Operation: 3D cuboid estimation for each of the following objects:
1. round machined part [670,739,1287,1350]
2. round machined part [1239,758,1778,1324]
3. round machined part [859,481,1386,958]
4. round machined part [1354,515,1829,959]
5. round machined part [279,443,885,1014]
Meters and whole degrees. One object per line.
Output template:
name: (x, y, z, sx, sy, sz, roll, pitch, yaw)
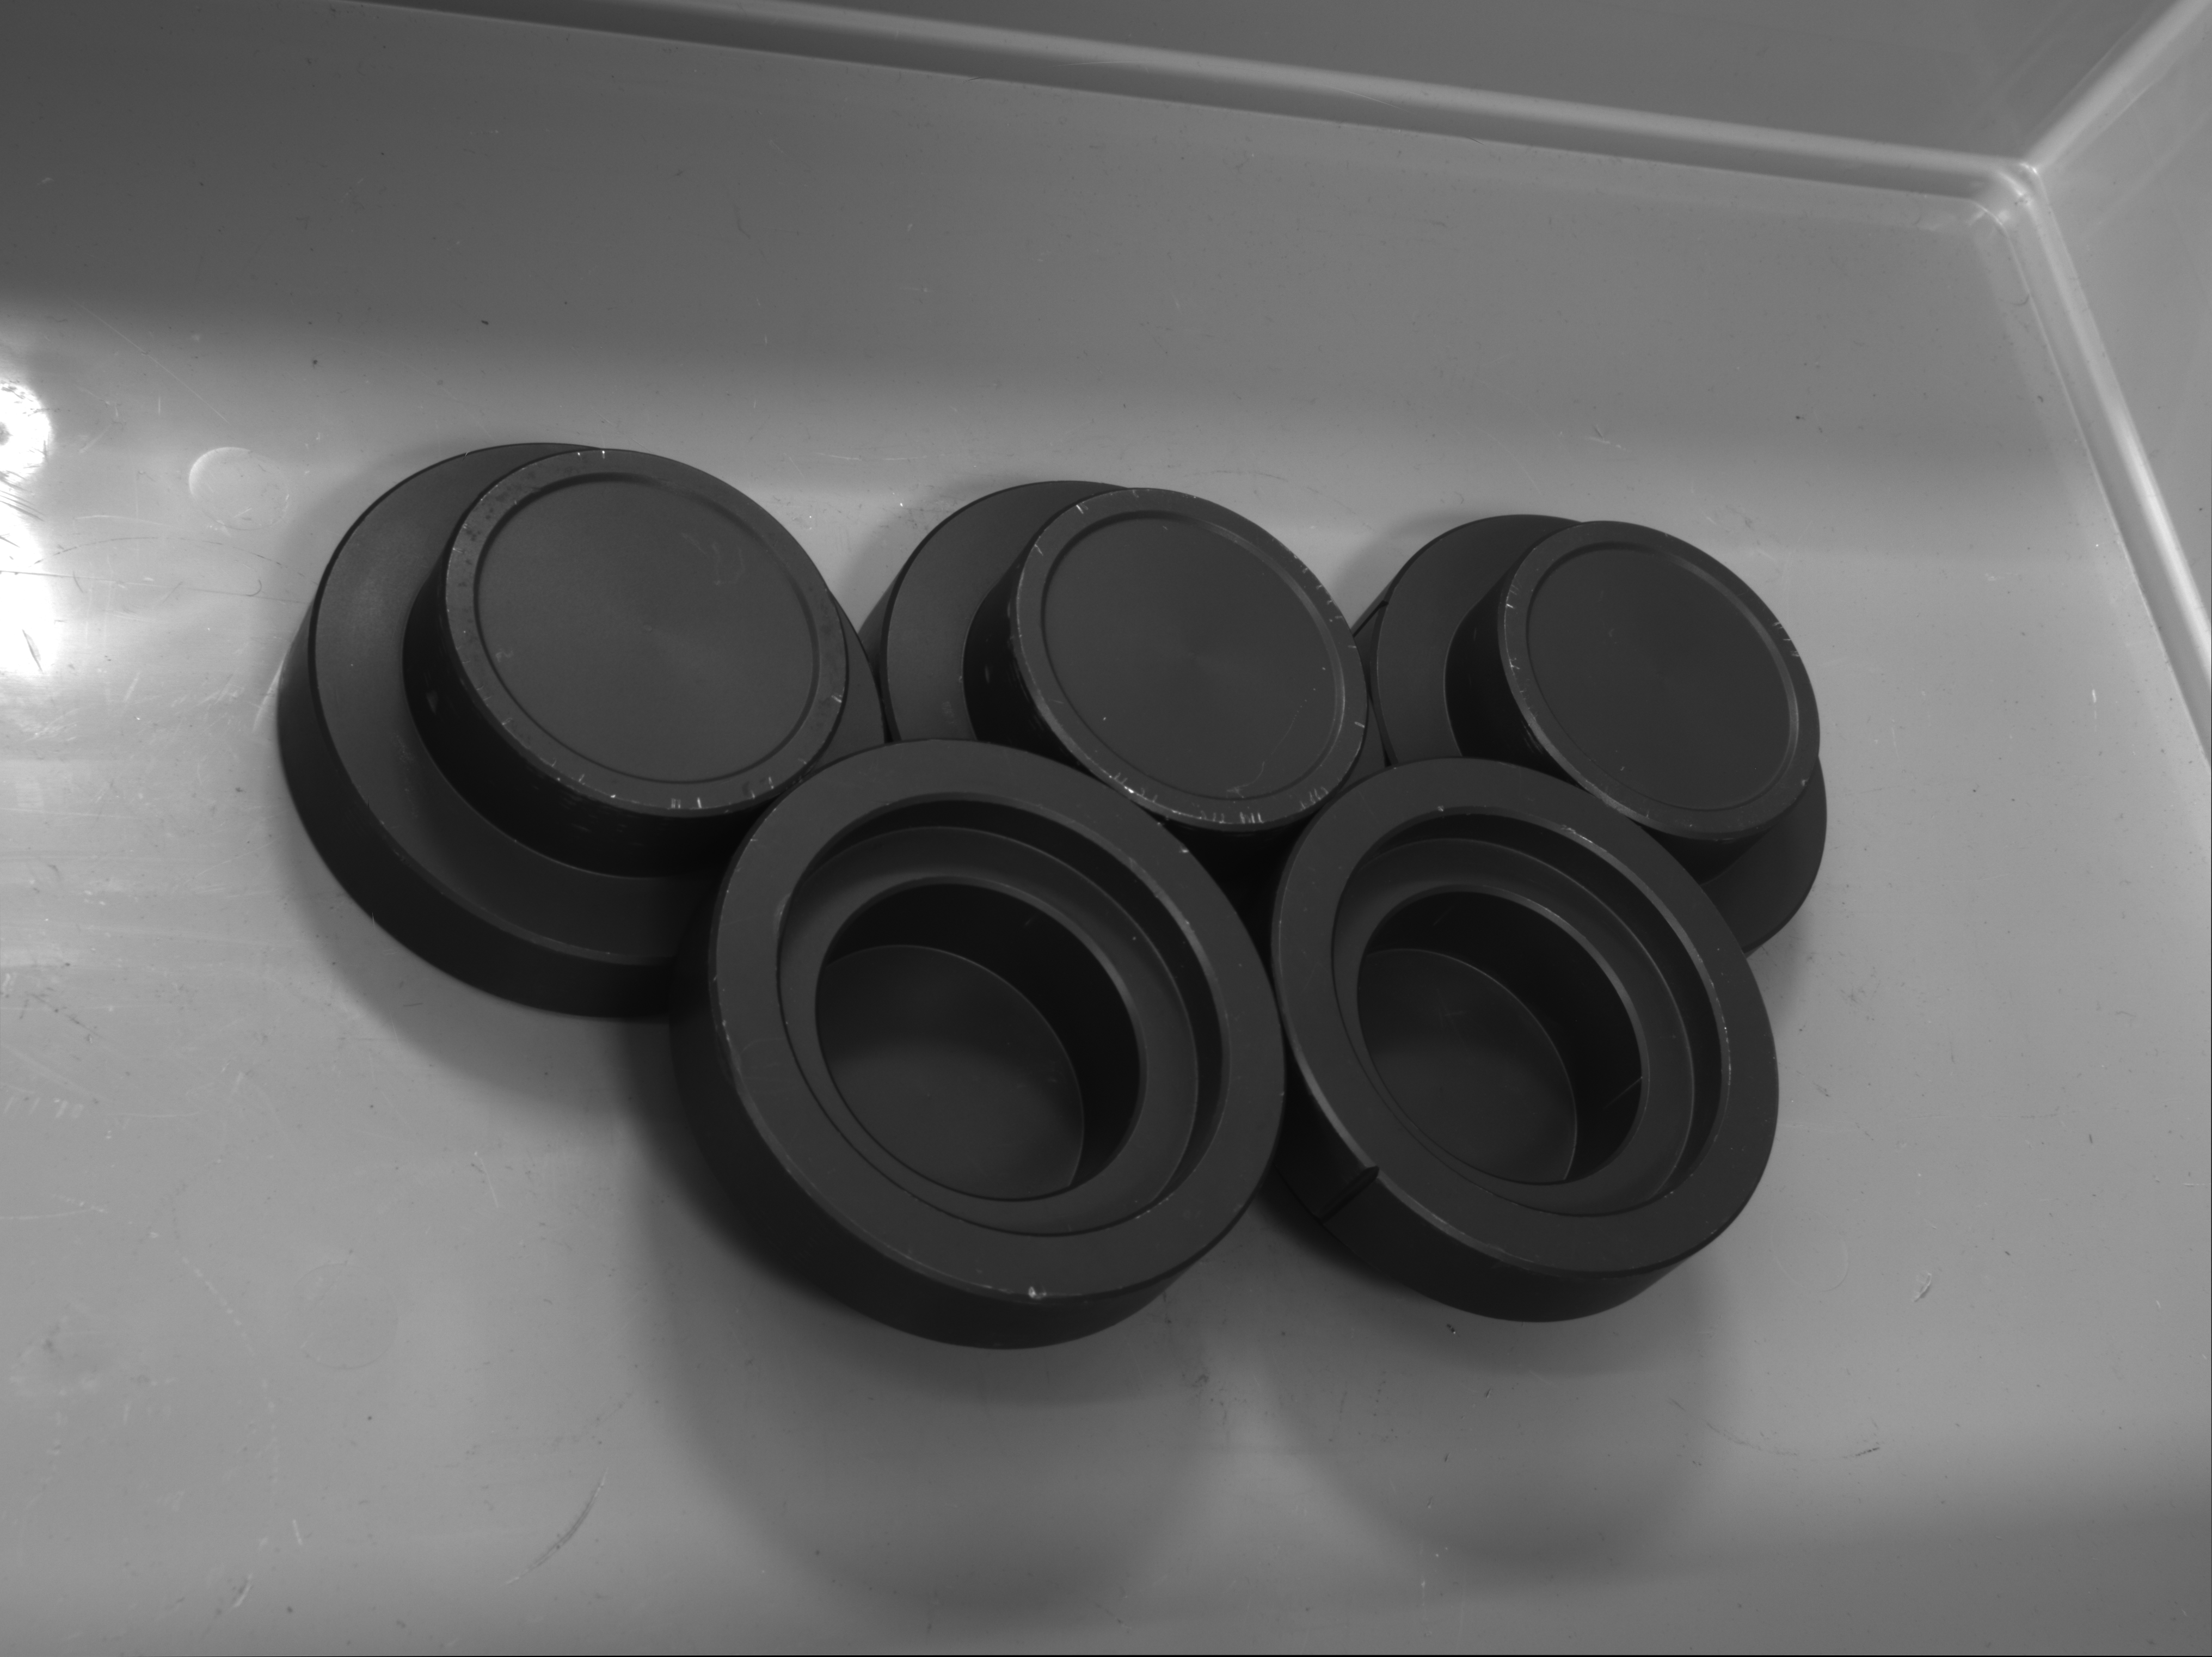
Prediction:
round machined part: (-0.024, 0.038, 0.590, 0.098, 0.042, 0.098, 14, 56, -21)
round machined part: (0.064, 0.040, 0.635, 0.098, 0.042, 0.098, 14, 56, -21)
round machined part: (0.006, -0.021, 0.641, 0.098, 0.042, 0.098, 13, 55, -20)
round machined part: (0.094, -0.018, 0.686, 0.098, 0.042, 0.098, 13, 55, -20)
round machined part: (-0.081, -0.023, 0.595, 0.098, 0.042, 0.098, 14, 55, -21)
